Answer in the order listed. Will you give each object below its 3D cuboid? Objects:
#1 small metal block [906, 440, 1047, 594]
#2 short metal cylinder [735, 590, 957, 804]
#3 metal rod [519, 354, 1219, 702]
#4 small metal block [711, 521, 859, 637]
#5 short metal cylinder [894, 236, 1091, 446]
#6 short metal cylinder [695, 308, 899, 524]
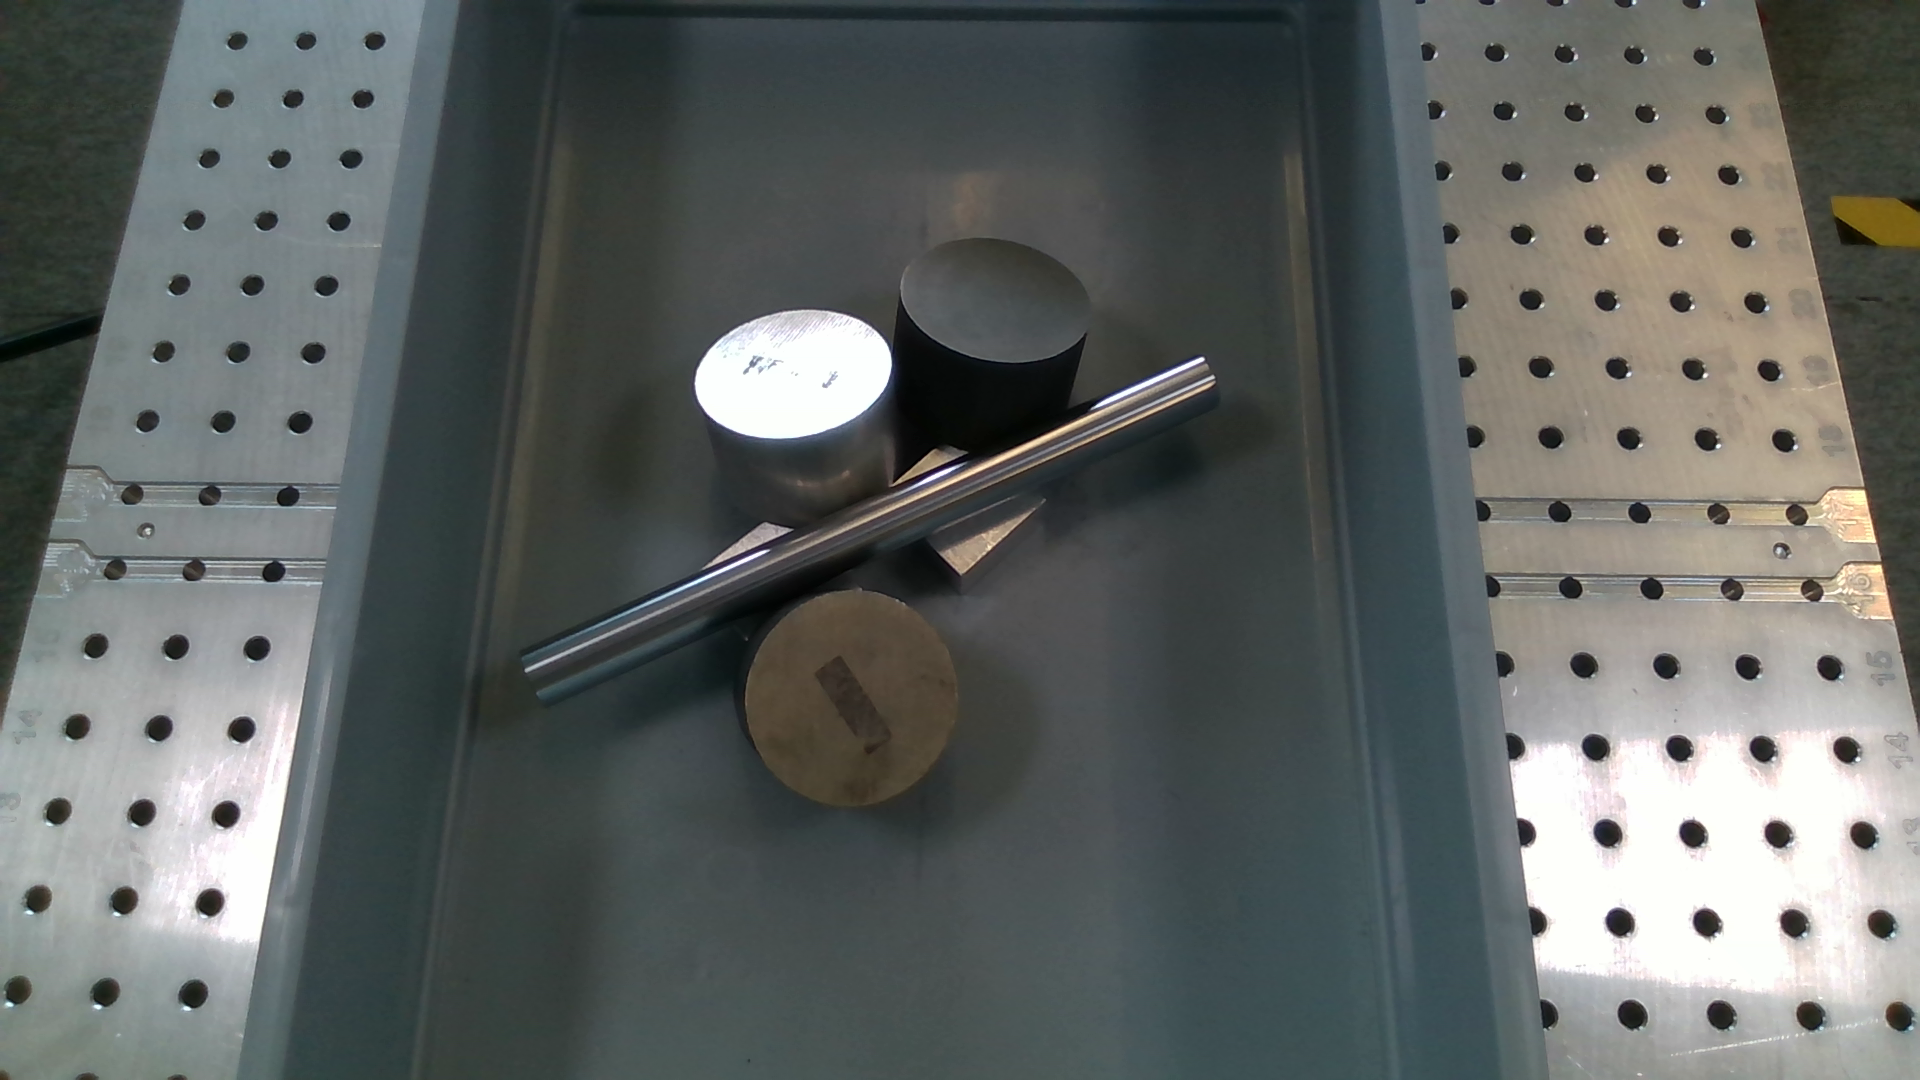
[{"bbox_3d":[0.001,-0.014,0.592,0.050,0.025,0.050,-42,75,-13],"label":"small metal block"},{"bbox_3d":[-0.046,0.059,0.539,0.080,0.050,0.080,0,89,-15],"label":"short metal cylinder"},{"bbox_3d":[-0.032,-0.008,0.563,0.300,0.025,0.025,-24,72,-9],"label":"metal rod"},{"bbox_3d":[-0.076,0.021,0.580,0.050,0.025,0.050,-39,75,-13],"label":"small metal block"},{"bbox_3d":[0.012,-0.085,0.590,0.080,0.050,0.080,5,49,-6],"label":"short metal cylinder"},{"bbox_3d":[-0.066,-0.052,0.578,0.080,0.050,0.080,-3,47,3],"label":"short metal cylinder"}]
